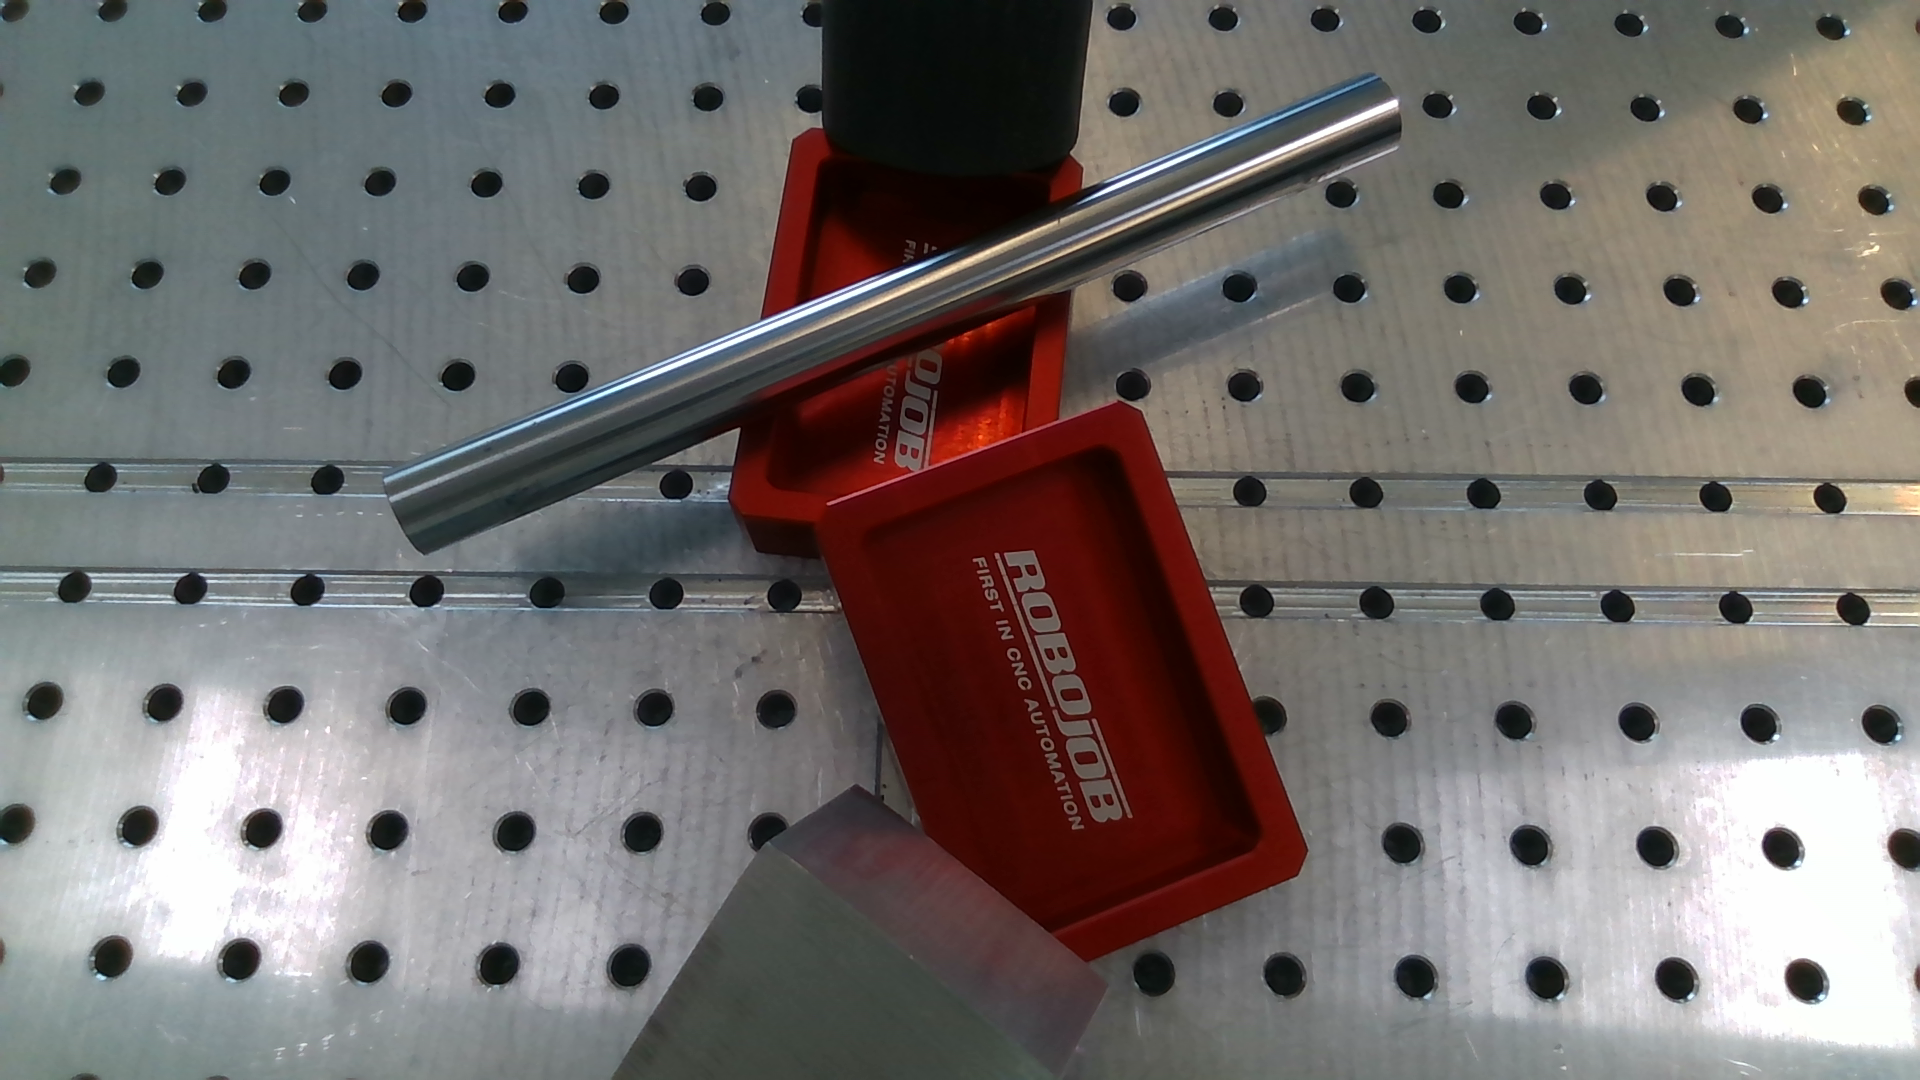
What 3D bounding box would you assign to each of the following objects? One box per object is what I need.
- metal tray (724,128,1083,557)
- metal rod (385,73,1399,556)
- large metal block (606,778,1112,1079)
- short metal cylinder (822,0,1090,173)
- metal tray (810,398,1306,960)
[{"bbox_3d":[-0.014,-0.058,0.415,0.090,0.030,0.130,6,71,2],"label":"metal tray"},{"bbox_3d":[-0.012,-0.067,0.390,0.300,0.025,0.025,-24,72,-8],"label":"metal rod"},{"bbox_3d":[-0.024,0.118,0.325,0.080,0.050,0.080,36,105,12],"label":"large metal block"},{"bbox_3d":[-0.002,-0.151,0.419,0.080,0.050,0.080,3,35,-2],"label":"short metal cylinder"},{"bbox_3d":[0.024,0.039,0.362,0.090,0.030,0.130,-20,88,-7],"label":"metal tray"}]
